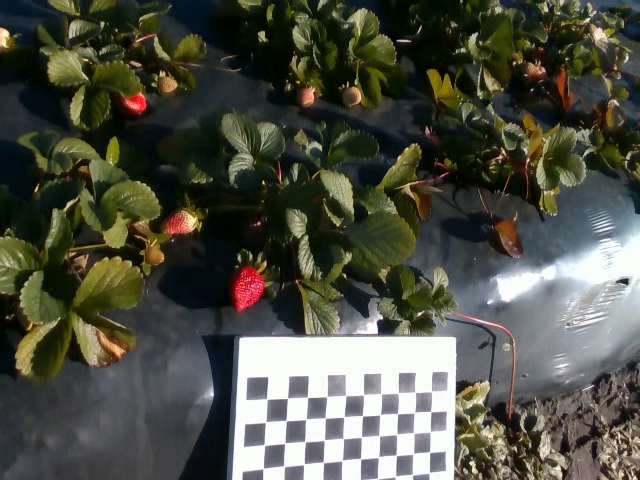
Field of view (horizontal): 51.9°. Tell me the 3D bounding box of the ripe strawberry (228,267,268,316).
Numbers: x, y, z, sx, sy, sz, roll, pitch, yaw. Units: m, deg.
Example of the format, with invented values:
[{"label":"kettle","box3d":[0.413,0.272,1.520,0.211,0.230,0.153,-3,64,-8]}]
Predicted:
[{"label":"ripe strawberry","box3d":[-0.083,0.055,0.688,0.058,0.066,0.062,-37,19,7]}]
